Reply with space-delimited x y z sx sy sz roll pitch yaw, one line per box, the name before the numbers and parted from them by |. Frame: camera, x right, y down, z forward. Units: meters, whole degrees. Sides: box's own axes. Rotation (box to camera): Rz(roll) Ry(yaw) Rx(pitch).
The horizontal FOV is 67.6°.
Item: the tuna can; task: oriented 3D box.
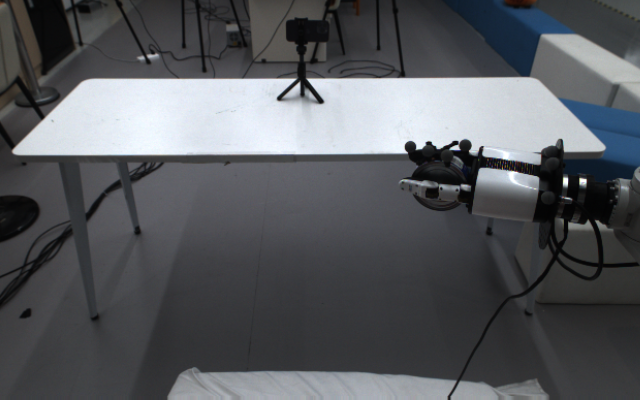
tuna can | 0.184 -0.029 0.737 0.085 0.085 0.034 15 35 17
